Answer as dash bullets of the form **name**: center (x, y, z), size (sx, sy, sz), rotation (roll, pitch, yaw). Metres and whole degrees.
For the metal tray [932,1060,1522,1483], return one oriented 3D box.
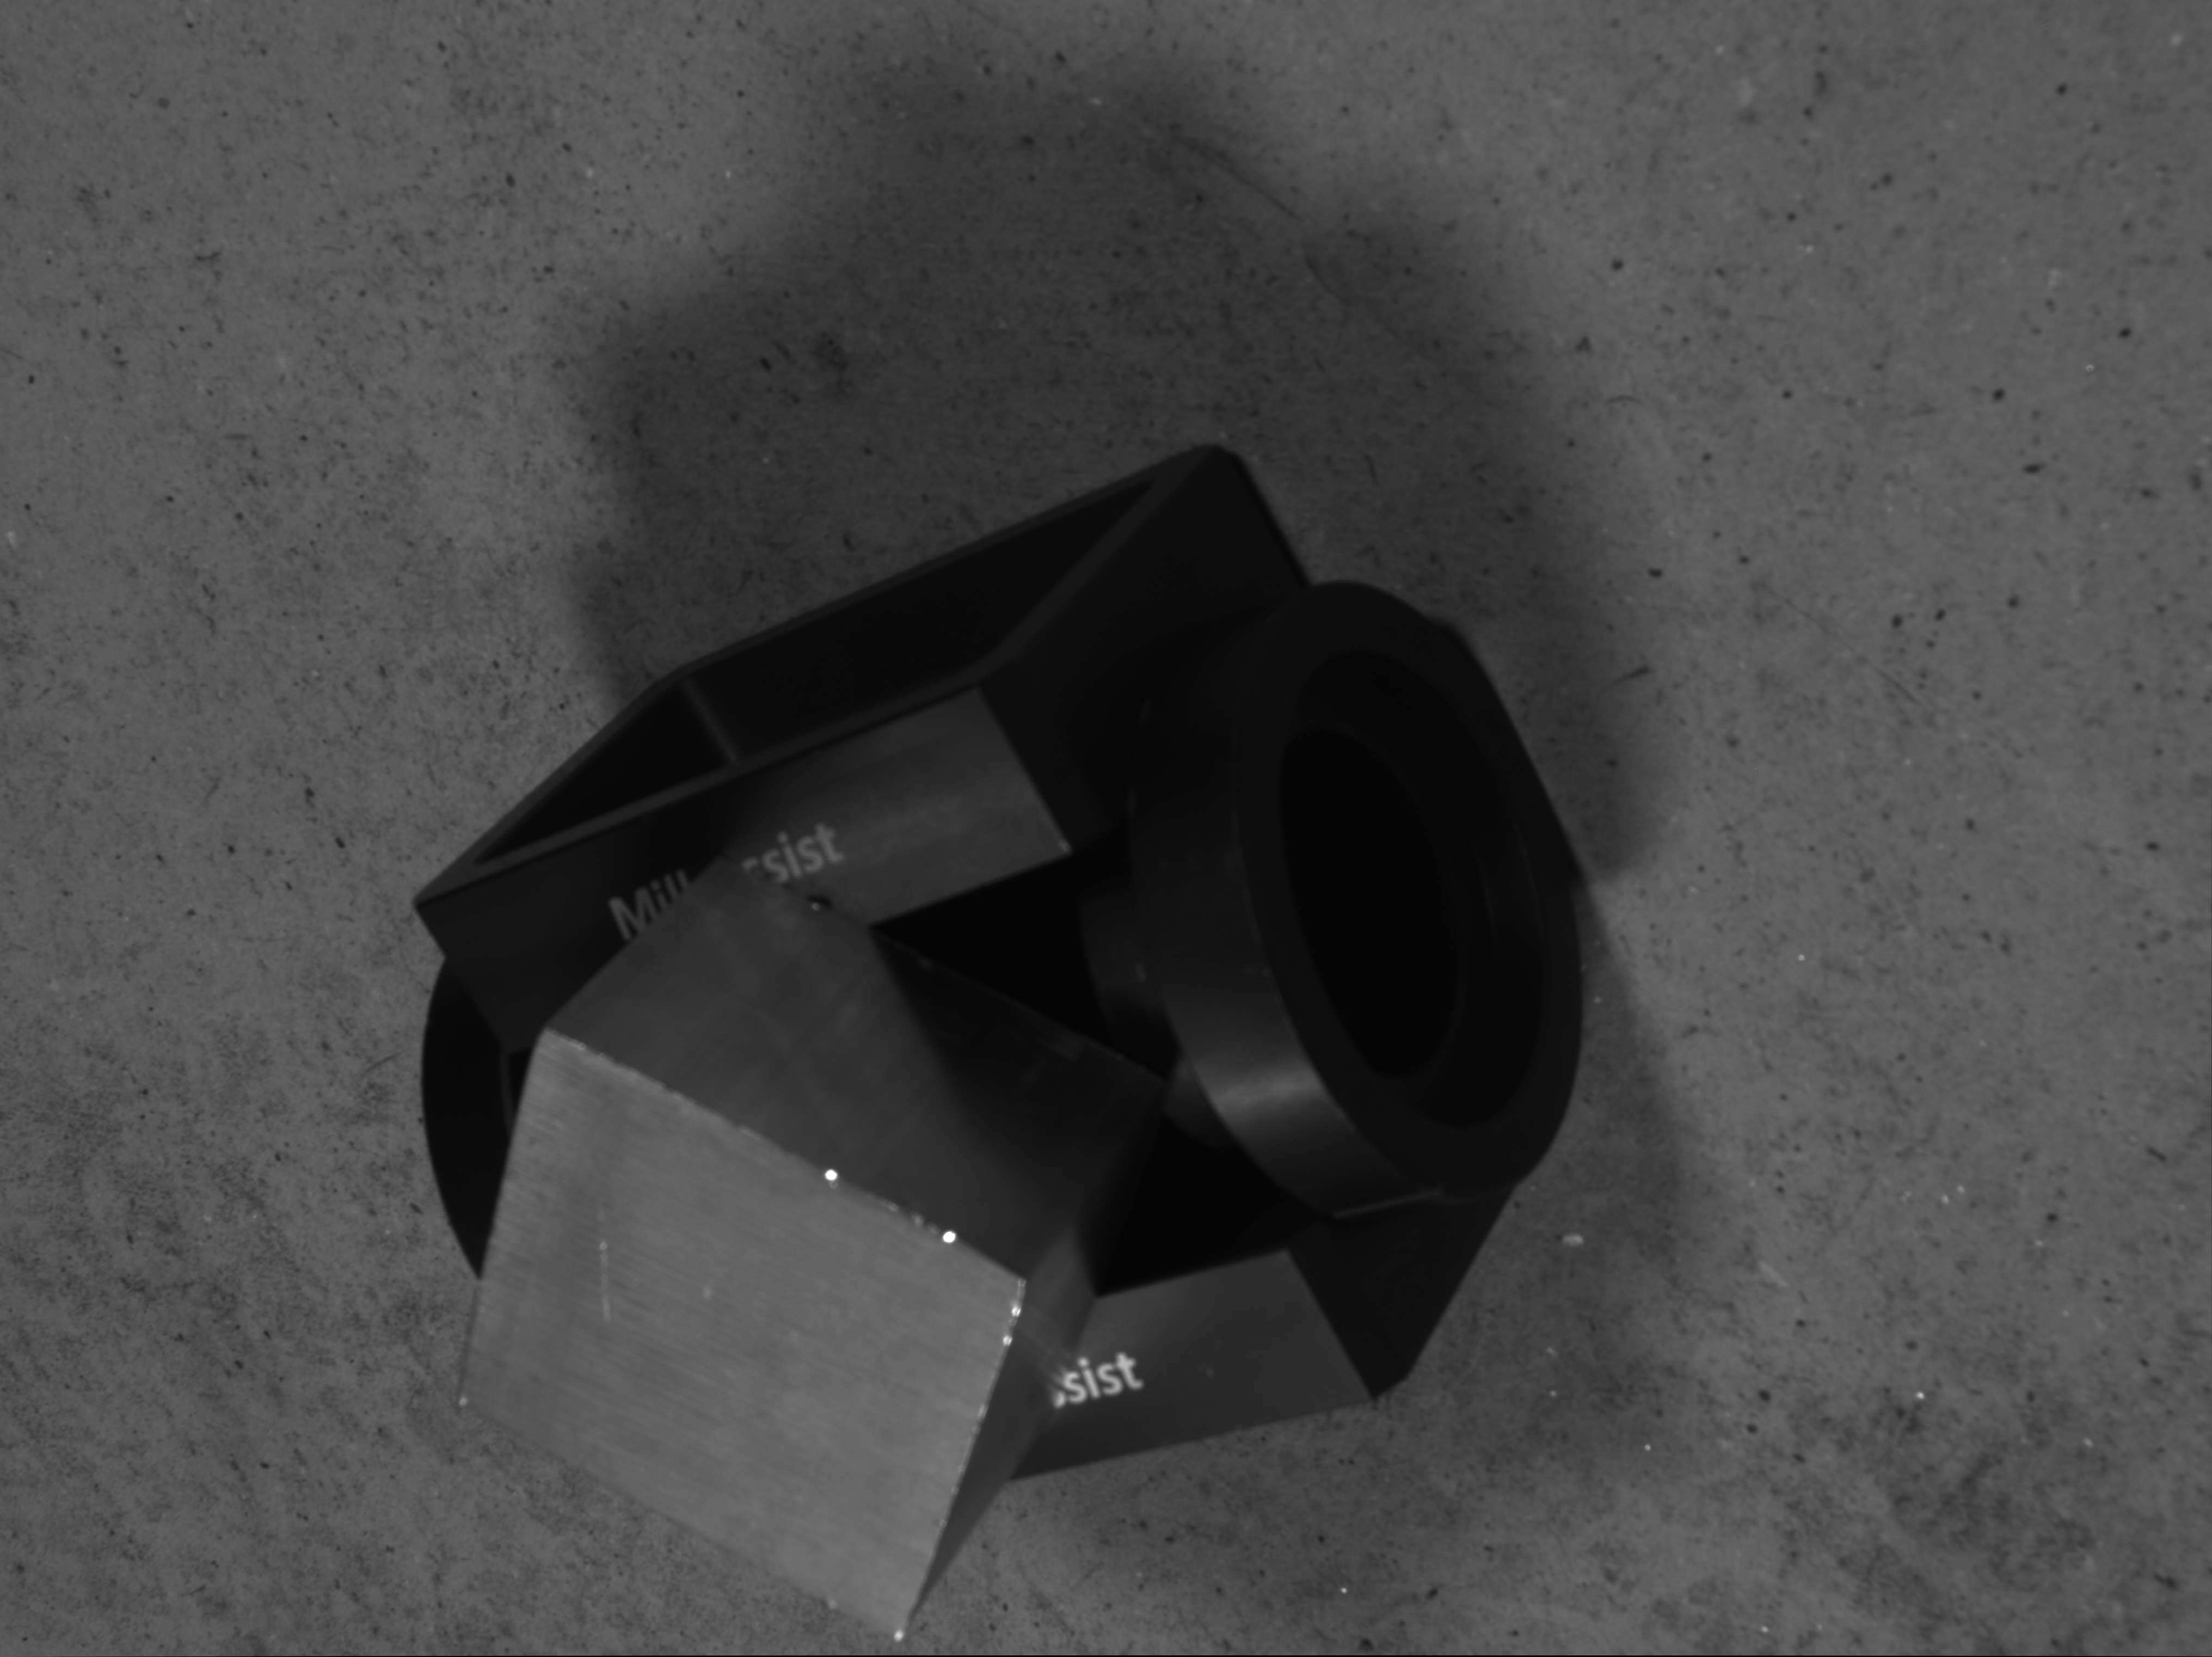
- **metal tray**: center (0.007, 0.072, 0.628), size (0.130, 0.090, 0.030), rotation (-19, 108, 34)

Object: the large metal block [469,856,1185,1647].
- **large metal block**: center (-0.044, 0.064, 0.558), size (0.080, 0.050, 0.080), rotation (26, 127, 10)

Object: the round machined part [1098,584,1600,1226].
- **round machined part**: center (0.035, 0.014, 0.575), size (0.042, 0.098, 0.098), rotation (-16, 110, 33)

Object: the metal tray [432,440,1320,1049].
- **metal tray**: center (-0.038, -0.014, 0.602), size (0.130, 0.090, 0.030), rotation (-20, 108, 34)

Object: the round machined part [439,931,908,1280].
- **round machined part**: center (-0.068, 0.049, 0.648), size (0.042, 0.098, 0.098), rotation (-16, 110, 33)
